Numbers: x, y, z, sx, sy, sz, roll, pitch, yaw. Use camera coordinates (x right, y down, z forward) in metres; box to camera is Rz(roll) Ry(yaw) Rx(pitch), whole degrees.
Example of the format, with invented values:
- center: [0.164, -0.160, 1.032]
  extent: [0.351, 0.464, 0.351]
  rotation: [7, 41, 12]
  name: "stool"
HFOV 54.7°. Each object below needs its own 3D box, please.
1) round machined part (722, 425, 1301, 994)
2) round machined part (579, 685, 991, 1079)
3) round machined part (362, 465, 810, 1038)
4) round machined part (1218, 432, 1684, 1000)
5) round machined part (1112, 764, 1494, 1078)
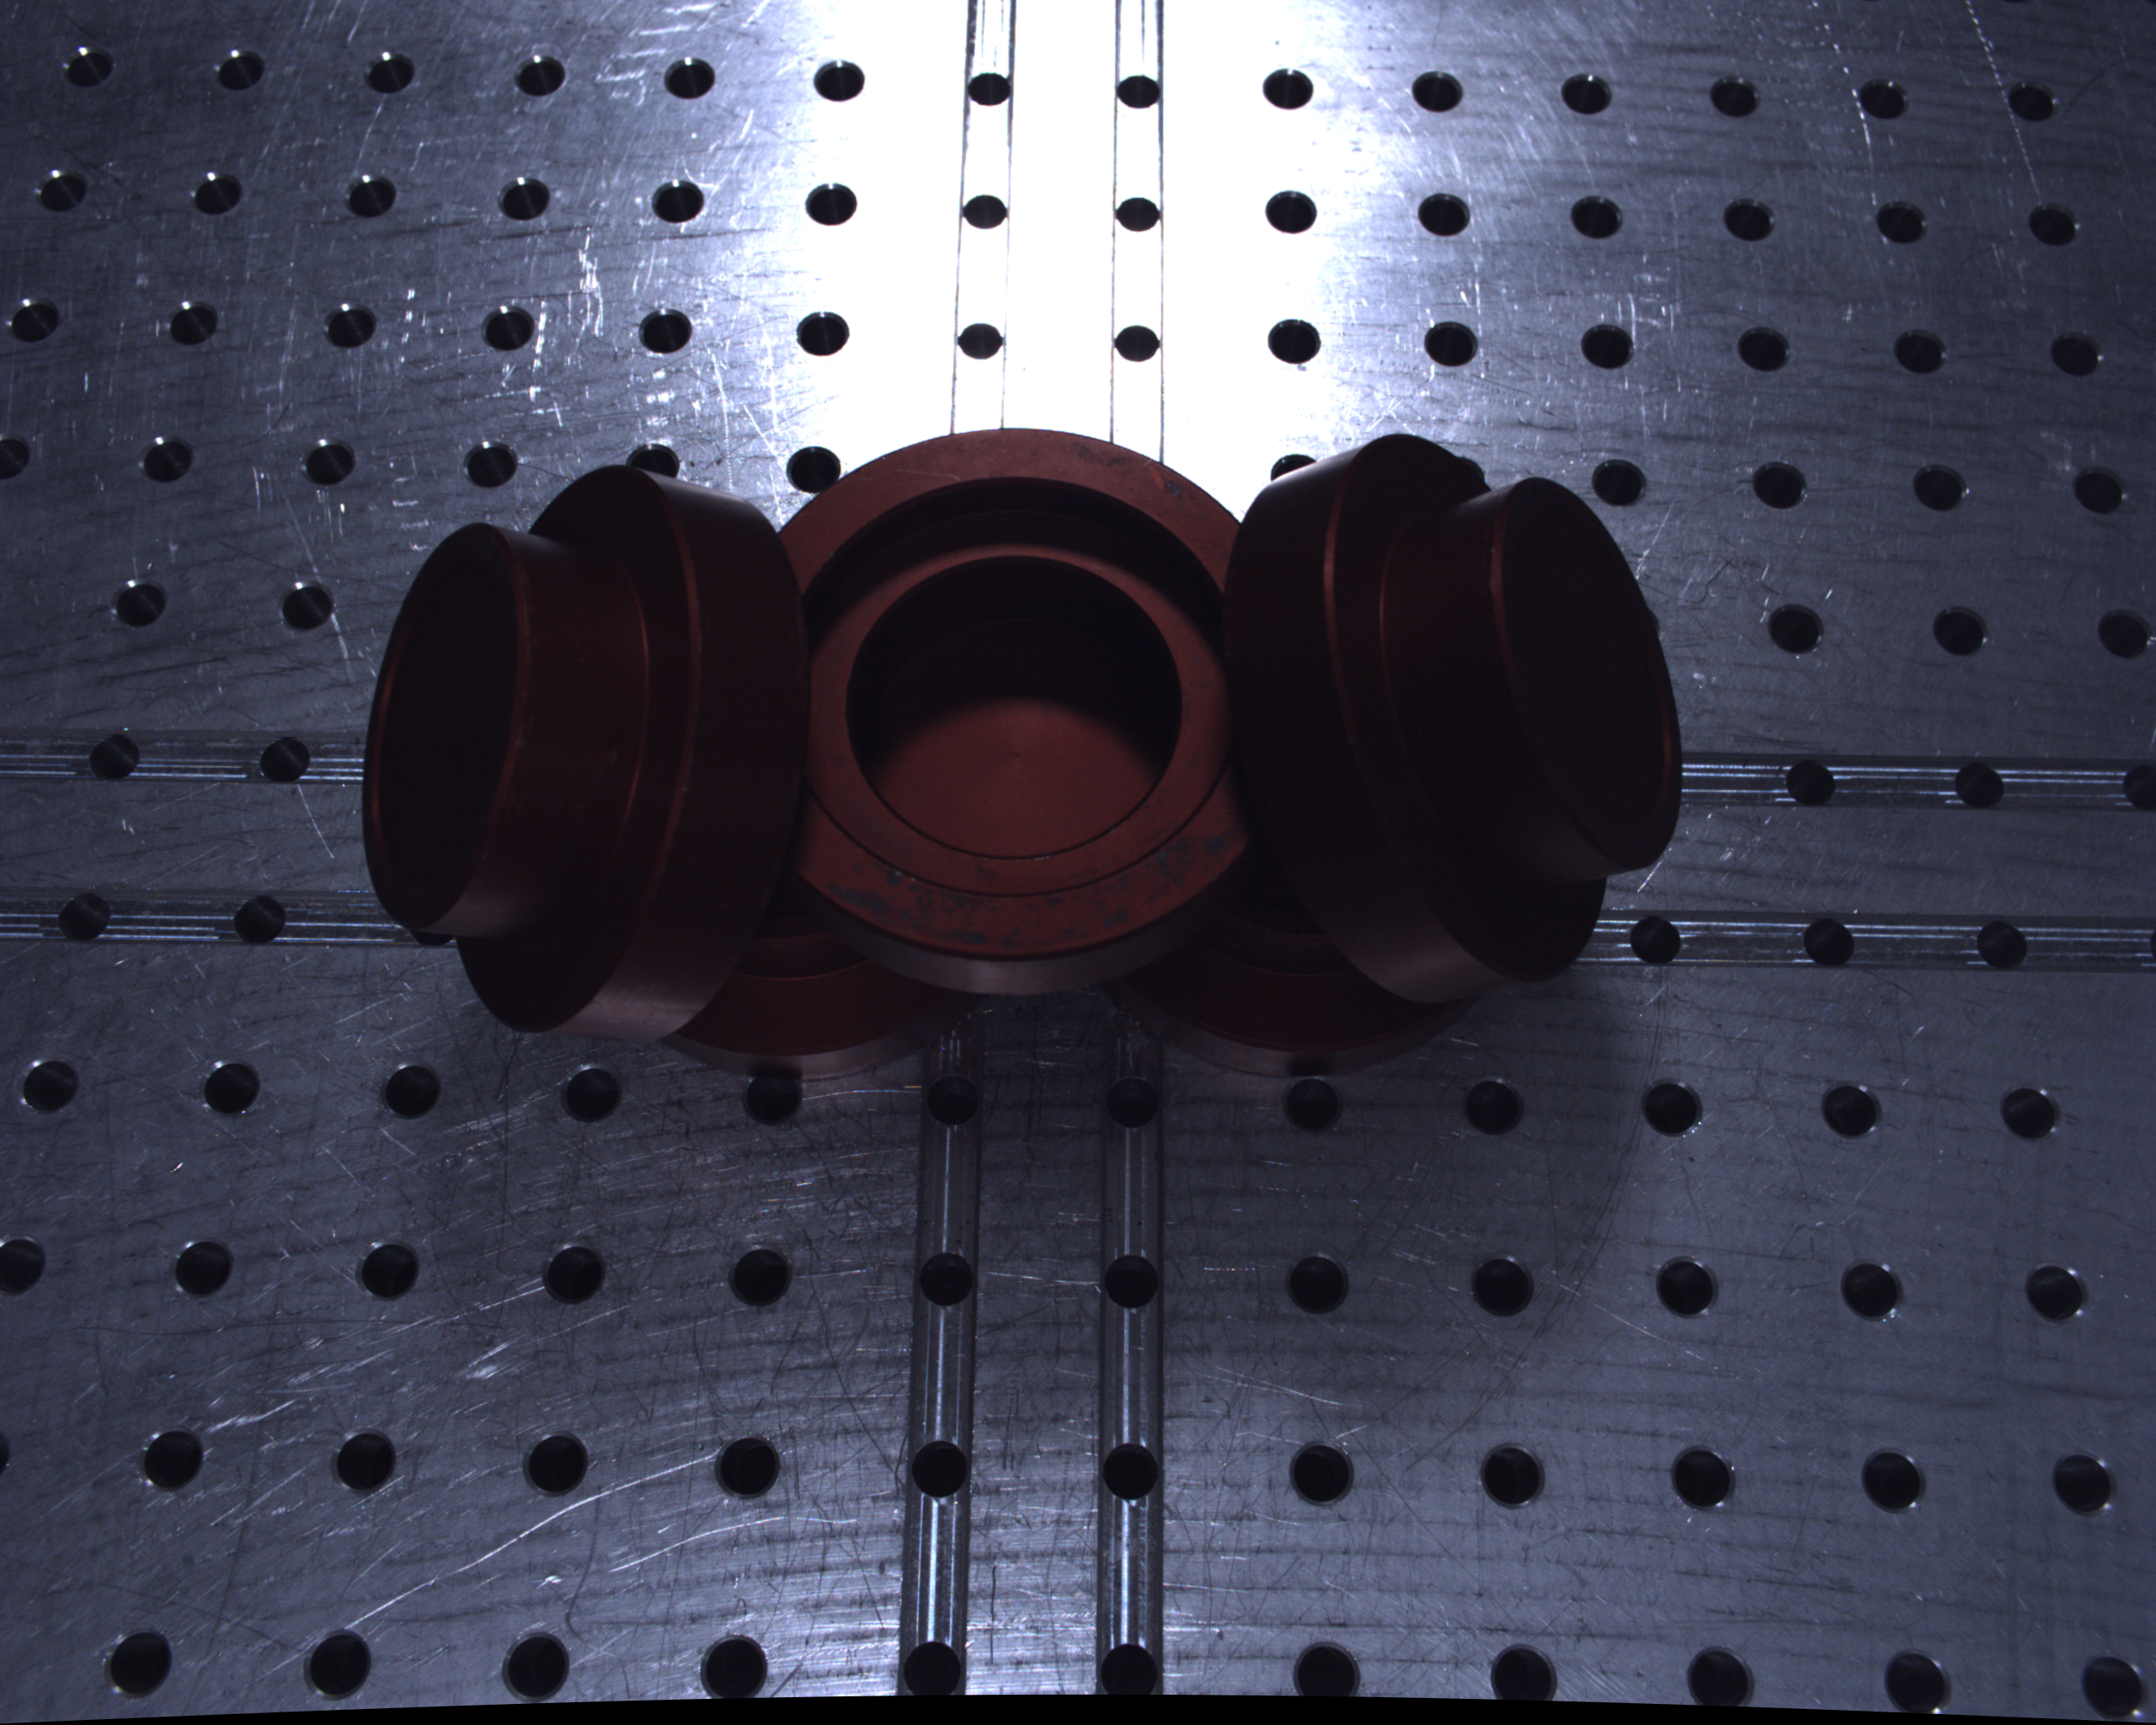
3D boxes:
- center: [-0.010, -0.024, 0.365]
  extent: [0.099, 0.042, 0.098]
  rotation: [0, 70, -1]
  name: "round machined part"
- center: [-0.055, -0.010, 0.405]
  extent: [0.099, 0.042, 0.098]
  rotation: [0, 70, -1]
  name: "round machined part"
- center: [-0.089, -0.020, 0.355]
  extent: [0.042, 0.098, 0.098]
  rotation: [10, 65, -37]
  name: "round machined part"
- center: [0.070, -0.028, 0.359]
  extent: [0.042, 0.098, 0.098]
  rotation: [-16, 65, 37]
  name: "round machined part"
- center: [0.043, -0.010, 0.407]
  extent: [0.099, 0.042, 0.098]
  rotation: [0, 70, -1]
  name: "round machined part"
